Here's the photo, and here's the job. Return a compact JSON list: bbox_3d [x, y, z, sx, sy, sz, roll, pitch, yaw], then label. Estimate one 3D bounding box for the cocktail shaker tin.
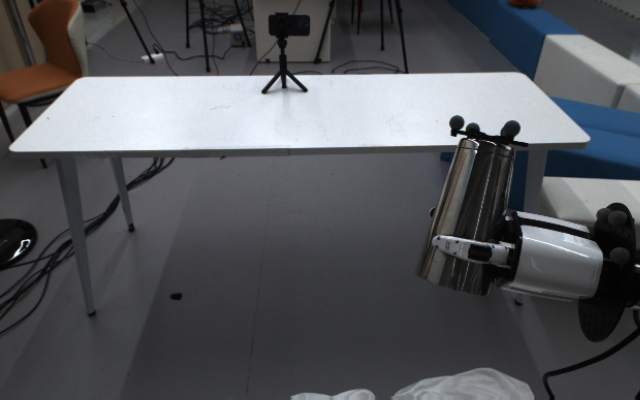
[{"bbox_3d":[0.181,0.017,0.581,0.093,0.170,0.093,13,4,-1],"label":"cocktail shaker tin"}]
